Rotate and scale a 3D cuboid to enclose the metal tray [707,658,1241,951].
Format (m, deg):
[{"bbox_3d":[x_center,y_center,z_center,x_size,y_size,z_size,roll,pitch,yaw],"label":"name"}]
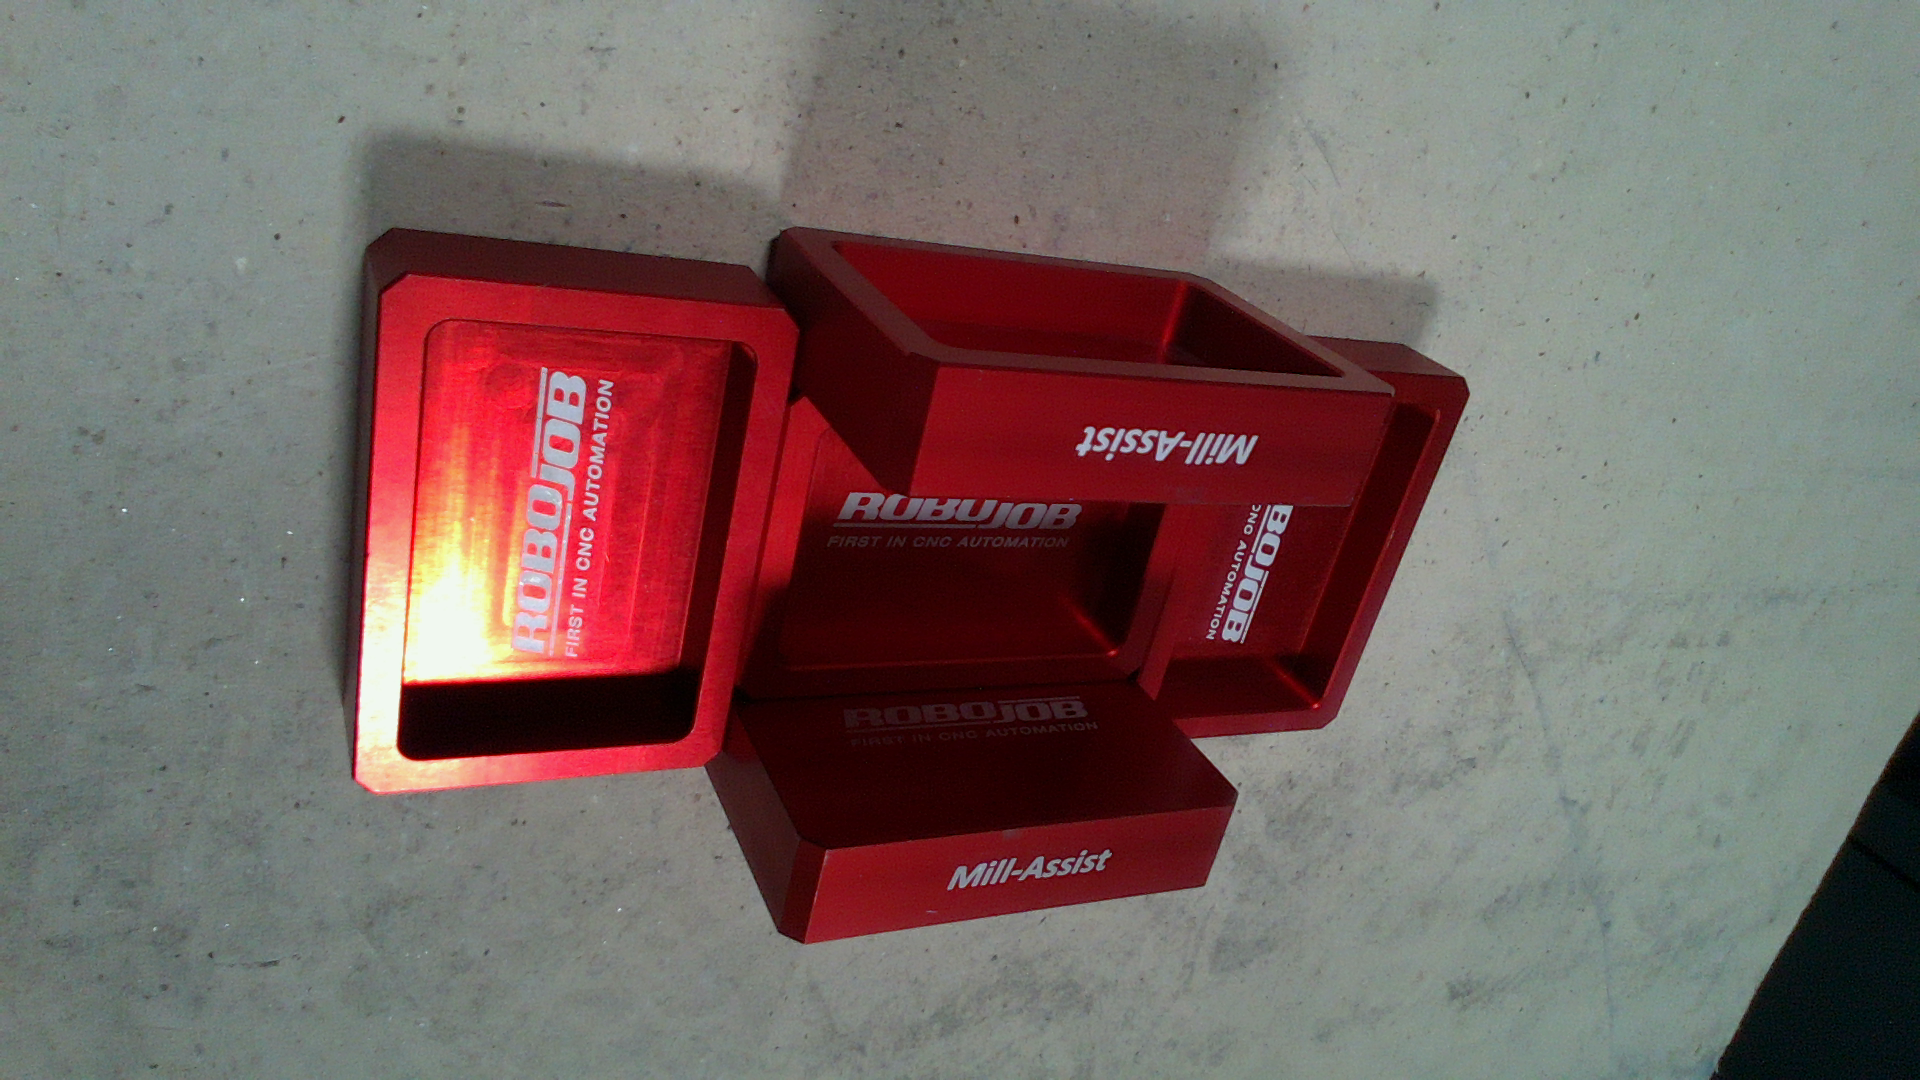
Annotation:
[{"bbox_3d":[0.000,0.064,0.385,0.130,0.090,0.030,0,118,-28],"label":"metal tray"}]

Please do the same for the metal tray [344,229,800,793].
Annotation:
[{"bbox_3d":[-0.096,-0.003,0.332,0.090,0.030,0.130,0,118,-29],"label":"metal tray"}]

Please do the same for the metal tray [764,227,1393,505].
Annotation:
[{"bbox_3d":[0.027,-0.043,0.336,0.130,0.090,0.030,0,118,-28],"label":"metal tray"}]

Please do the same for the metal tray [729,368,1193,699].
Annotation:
[{"bbox_3d":[0.001,-0.004,0.384,0.130,0.030,0.090,1,118,-29],"label":"metal tray"}]

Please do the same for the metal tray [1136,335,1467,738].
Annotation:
[{"bbox_3d":[0.097,0.001,0.439,0.090,0.030,0.130,0,118,-29],"label":"metal tray"}]
